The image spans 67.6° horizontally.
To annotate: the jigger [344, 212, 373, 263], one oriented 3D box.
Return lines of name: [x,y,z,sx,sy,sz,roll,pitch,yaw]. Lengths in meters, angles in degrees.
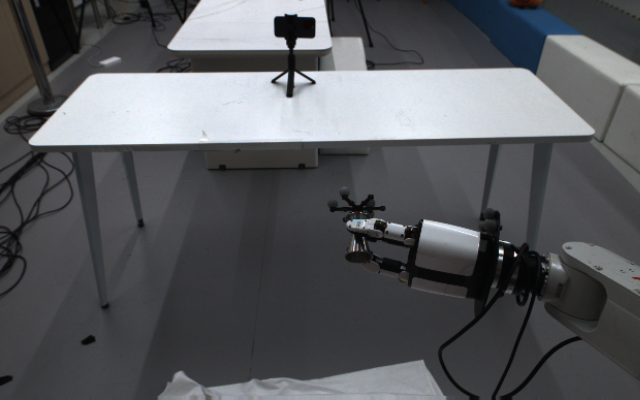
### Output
jigger: [0.059,0.054,0.742,0.043,0.043,0.071,2,59,0]
